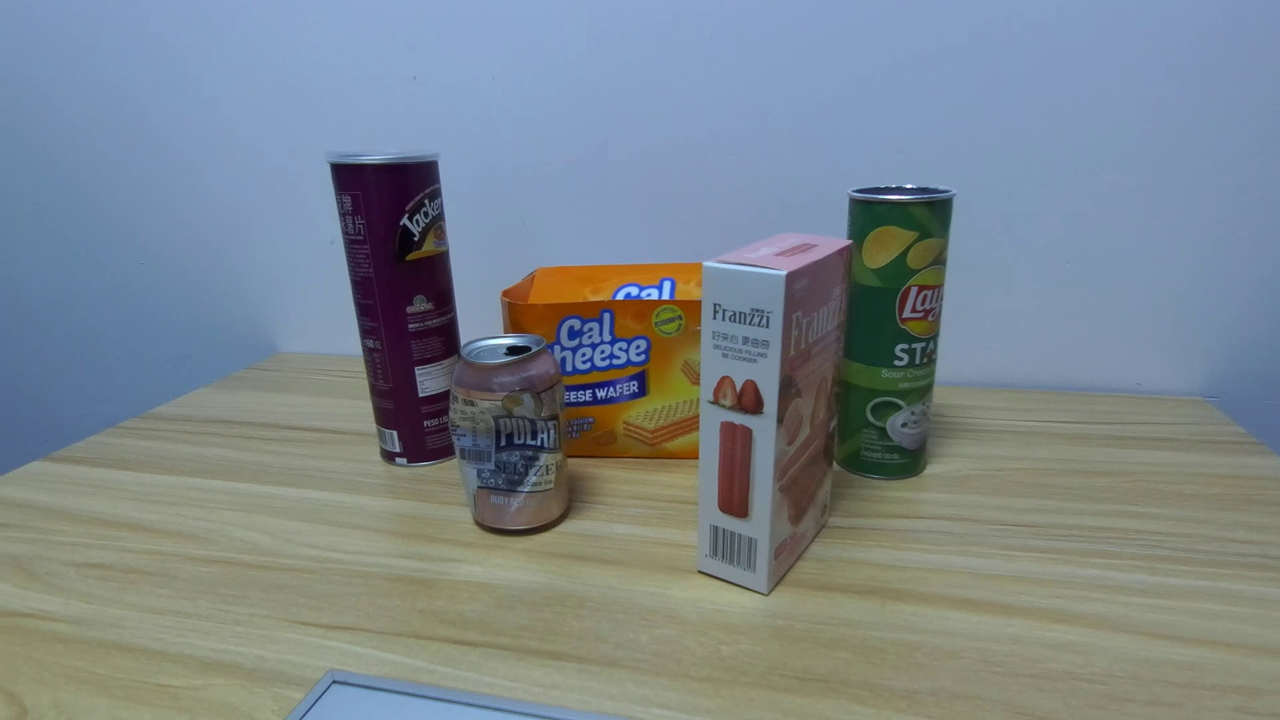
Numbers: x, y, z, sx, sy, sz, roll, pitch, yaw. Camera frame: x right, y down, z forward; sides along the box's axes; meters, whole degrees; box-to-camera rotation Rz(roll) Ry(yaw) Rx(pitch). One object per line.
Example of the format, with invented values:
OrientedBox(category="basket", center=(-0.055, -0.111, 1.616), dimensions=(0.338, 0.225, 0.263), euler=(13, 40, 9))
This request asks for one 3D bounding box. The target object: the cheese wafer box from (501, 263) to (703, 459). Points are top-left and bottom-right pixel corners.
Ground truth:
OrientedBox(category="cheese wafer box", center=(0.008, -0.003, 0.596), dimensions=(0.230, 0.132, 0.152), euler=(1, 20, 5))

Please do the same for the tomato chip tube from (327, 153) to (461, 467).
OrientedBox(category="tomato chip tube", center=(-0.184, -0.038, 0.555), dimensions=(0.078, 0.234, 0.078), euler=(-2, 18, 1))

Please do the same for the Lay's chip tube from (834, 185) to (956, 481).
OrientedBox(category="Lay's chip tube", center=(0.179, -0.020, 0.508), dimensions=(0.071, 0.202, 0.071), euler=(-2, 20, 1))

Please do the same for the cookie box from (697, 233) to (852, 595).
OrientedBox(category="cookie box", center=(0.077, 0.028, 0.406), dimensions=(0.048, 0.184, 0.096), euler=(12, 23, 31))

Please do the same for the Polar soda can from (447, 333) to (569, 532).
OrientedBox(category="Polar soda can", center=(-0.082, 0.049, 0.465), dimensions=(0.067, 0.122, 0.074), euler=(-19, 24, -36))
